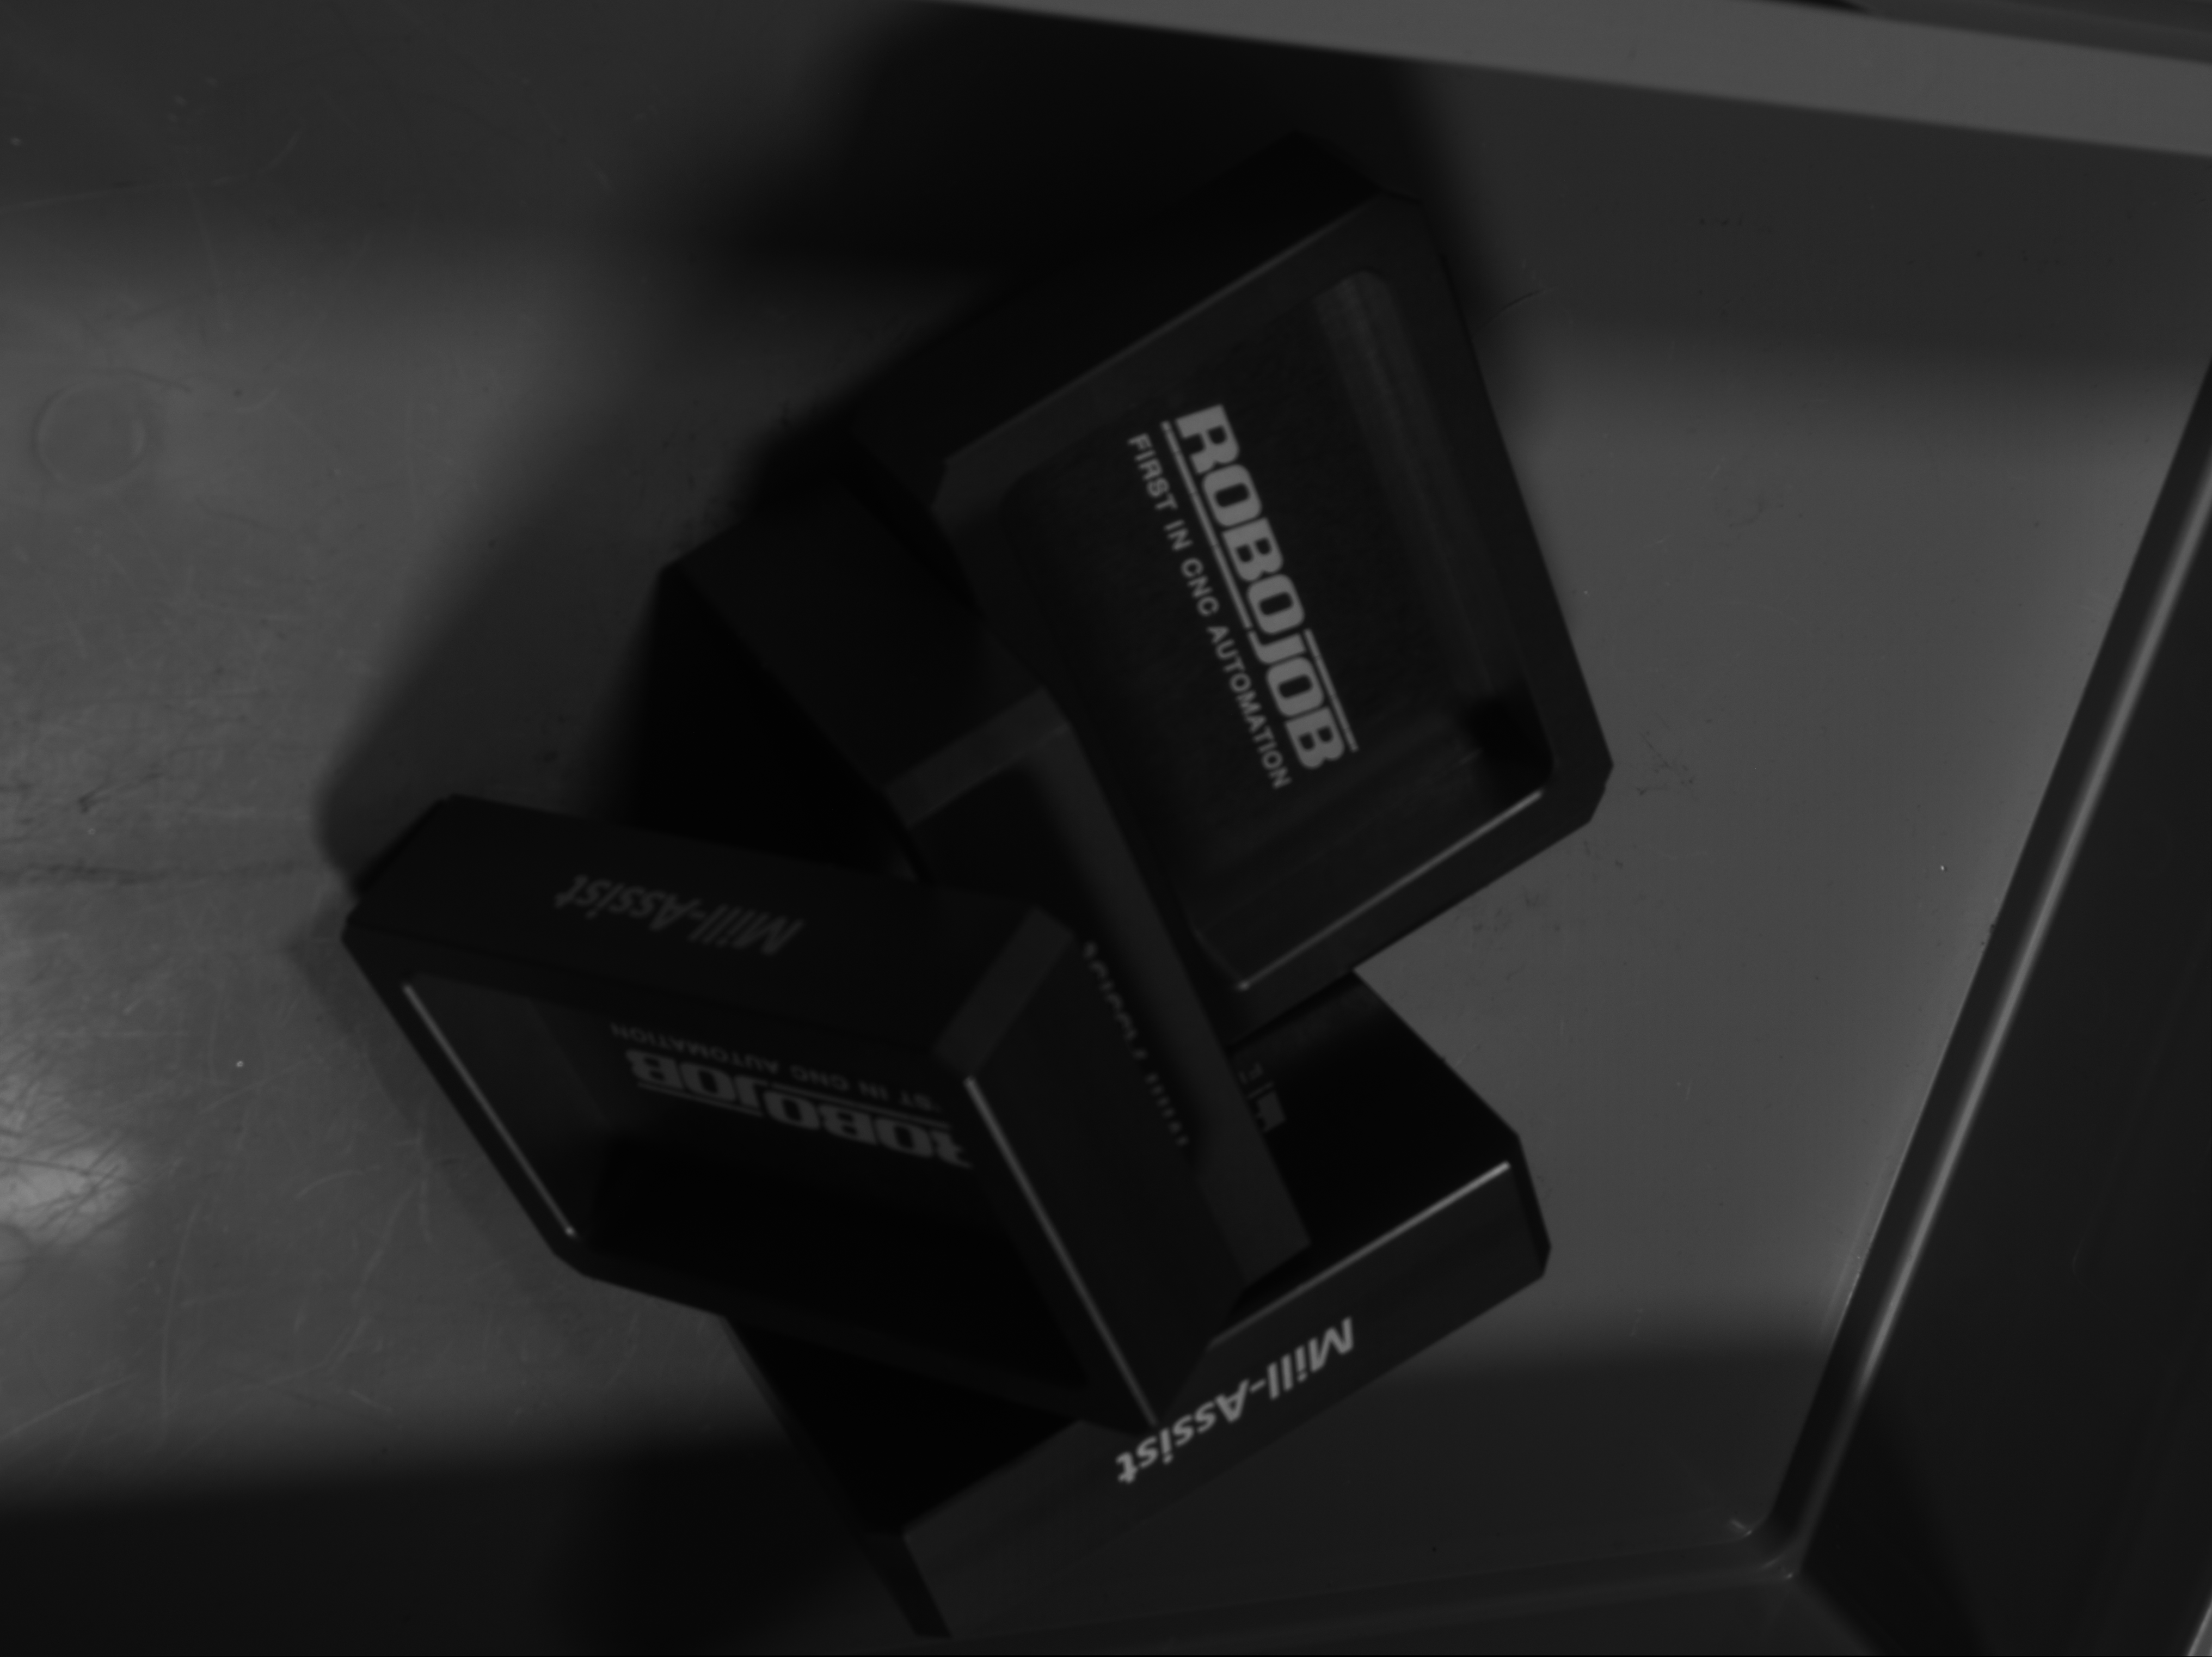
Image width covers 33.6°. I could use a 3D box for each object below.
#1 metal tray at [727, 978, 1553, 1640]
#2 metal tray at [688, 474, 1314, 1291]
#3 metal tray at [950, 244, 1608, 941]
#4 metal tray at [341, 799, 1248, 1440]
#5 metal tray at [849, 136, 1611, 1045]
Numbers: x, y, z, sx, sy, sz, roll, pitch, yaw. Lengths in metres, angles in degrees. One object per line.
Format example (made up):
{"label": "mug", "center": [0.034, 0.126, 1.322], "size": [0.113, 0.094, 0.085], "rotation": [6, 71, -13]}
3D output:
{"label": "metal tray", "center": [0.002, 0.077, 0.655], "size": [0.130, 0.090, 0.030], "rotation": [-29, 129, -12]}
{"label": "metal tray", "center": [-0.017, 0.015, 0.605], "size": [0.030, 0.090, 0.130], "rotation": [-32, 129, -9]}
{"label": "metal tray", "center": [0.031, -0.036, 0.643], "size": [0.090, 0.030, 0.130], "rotation": [-29, 128, -10]}
{"label": "metal tray", "center": [-0.050, 0.045, 0.581], "size": [0.030, 0.130, 0.090], "rotation": [-55, 137, -31]}
{"label": "metal tray", "center": [0.024, -0.035, 0.599], "size": [0.090, 0.030, 0.130], "rotation": [-32, 129, -9]}
